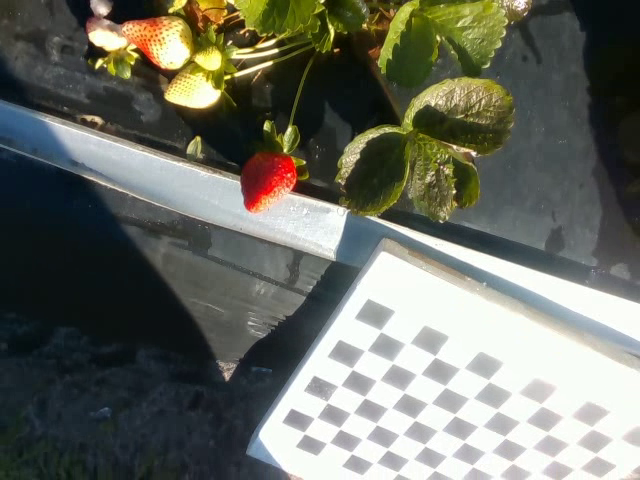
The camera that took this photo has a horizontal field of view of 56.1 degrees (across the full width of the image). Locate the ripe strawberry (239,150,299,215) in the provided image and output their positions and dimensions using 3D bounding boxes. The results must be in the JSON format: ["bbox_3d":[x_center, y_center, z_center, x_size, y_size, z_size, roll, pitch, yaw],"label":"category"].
[{"bbox_3d":[-0.032,-0.030,0.328,0.036,0.045,0.038,26,-42,-3],"label":"ripe strawberry"}]
